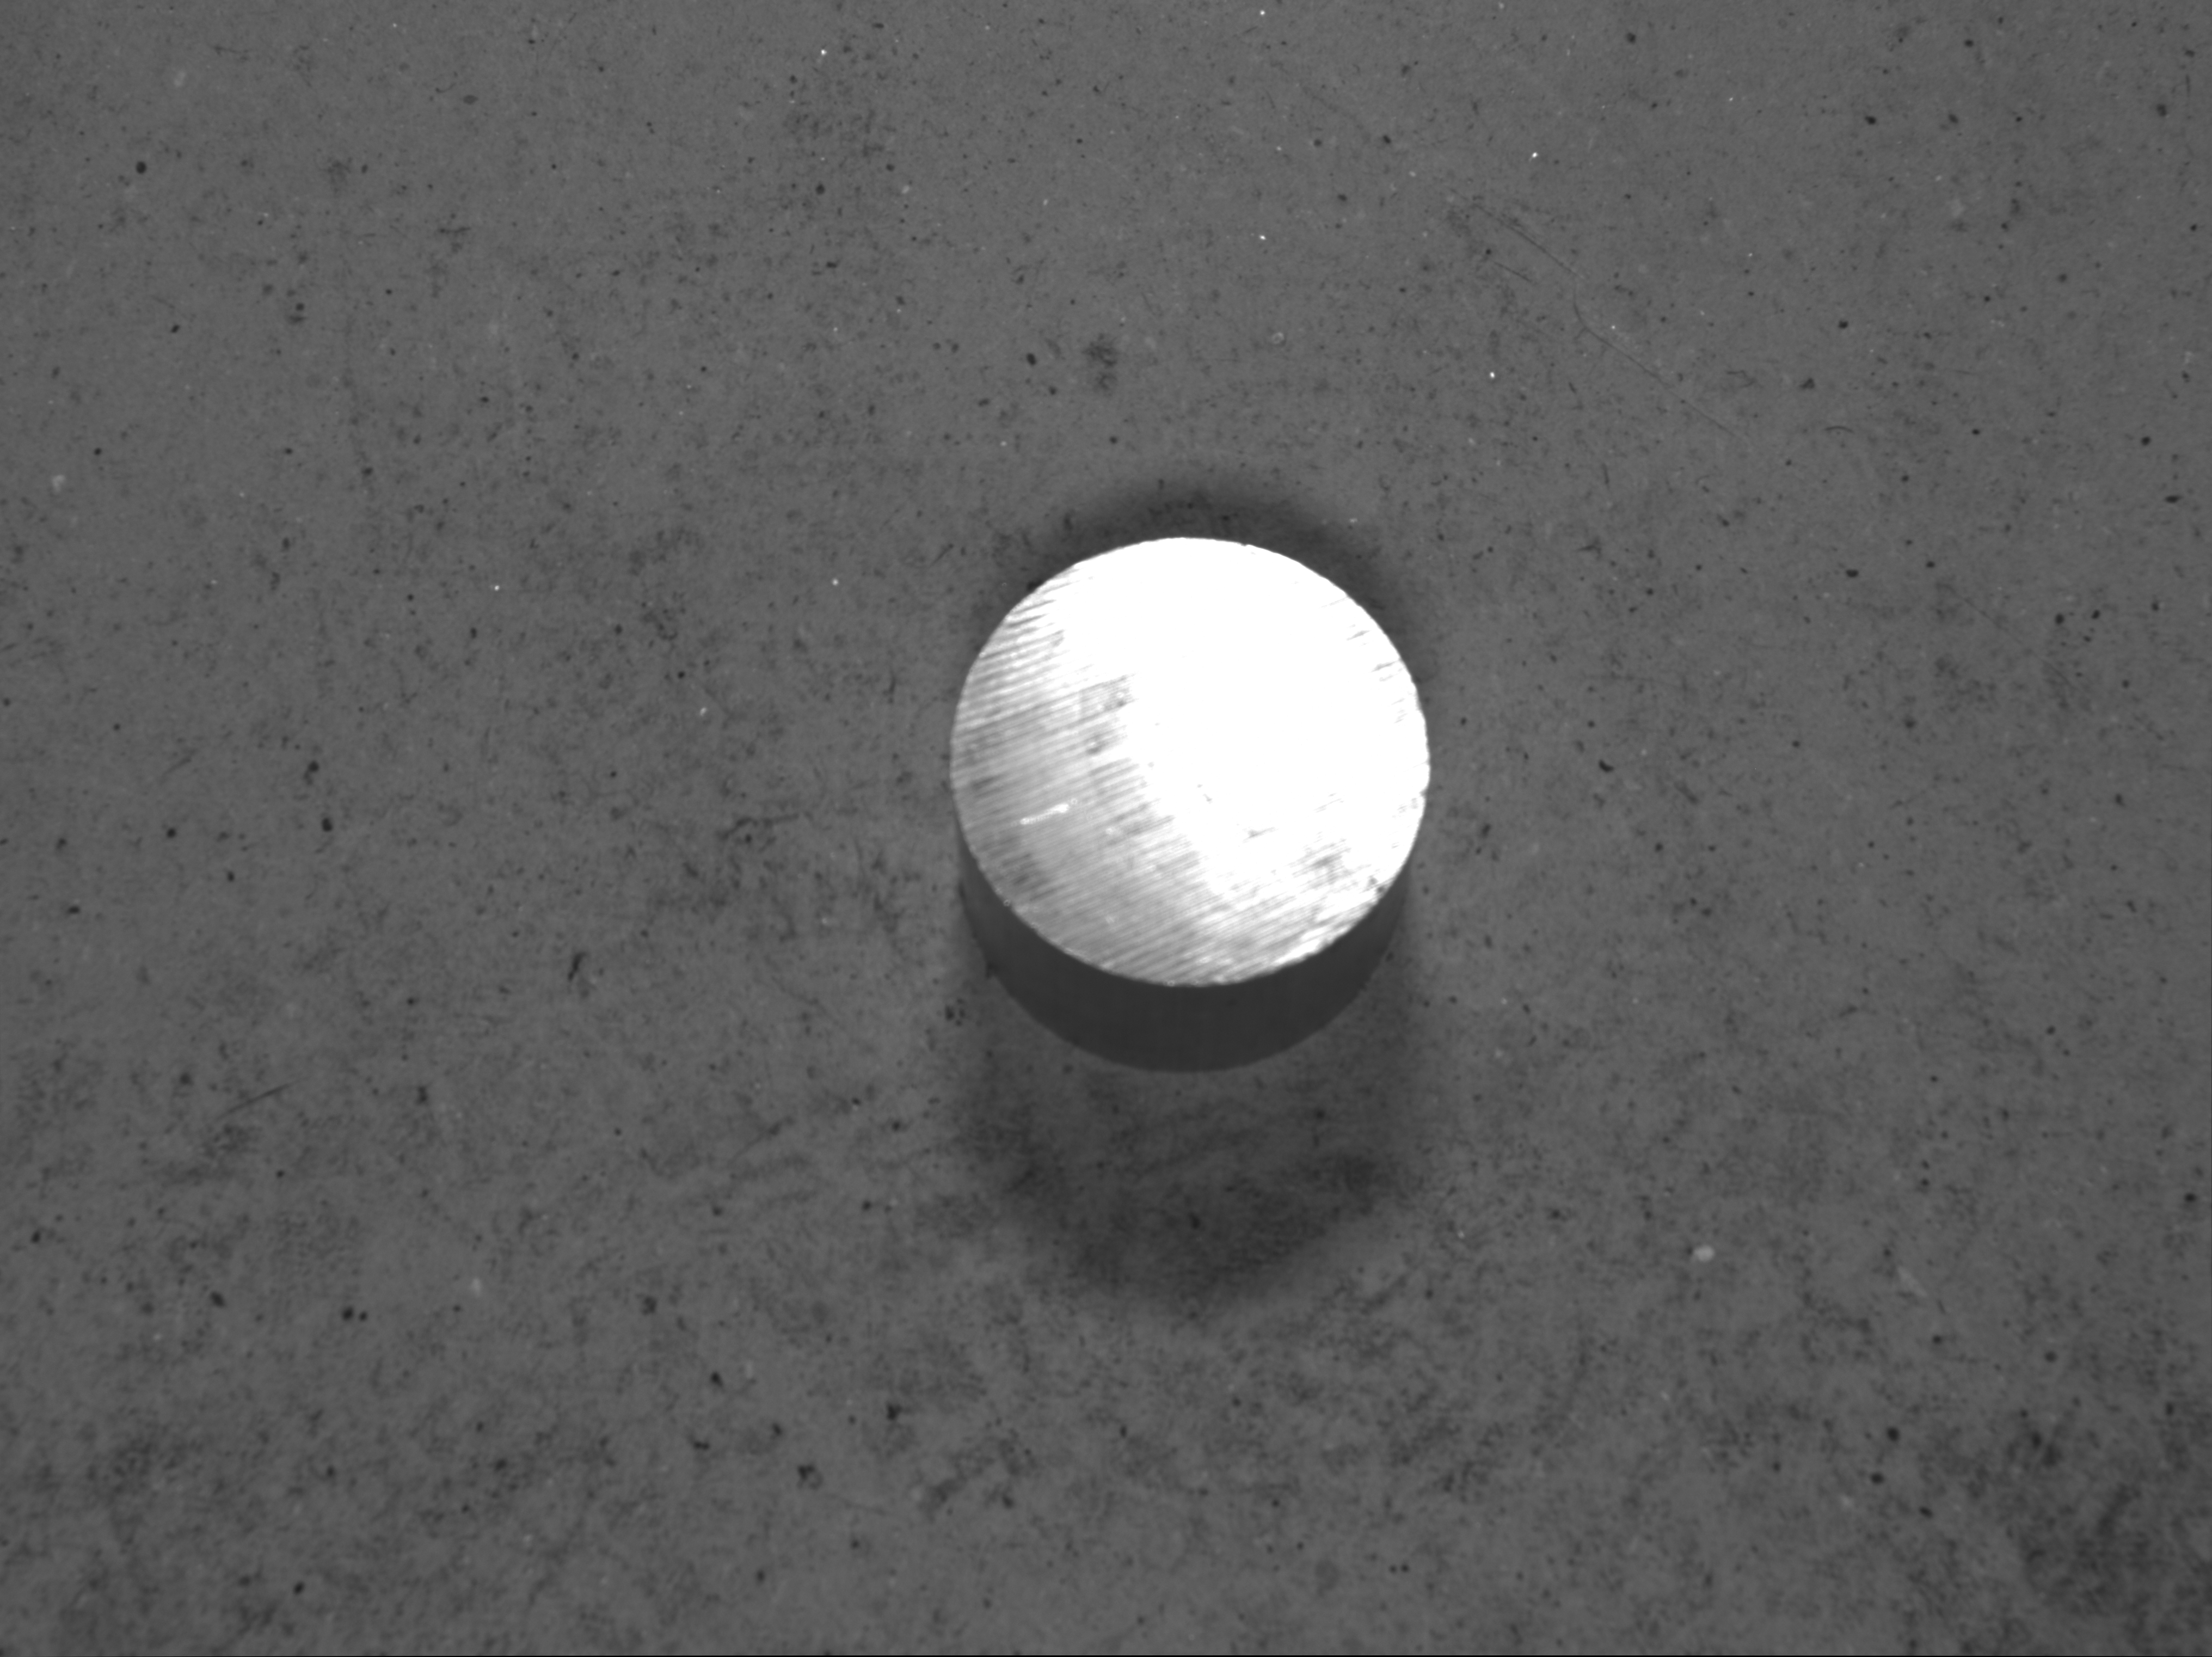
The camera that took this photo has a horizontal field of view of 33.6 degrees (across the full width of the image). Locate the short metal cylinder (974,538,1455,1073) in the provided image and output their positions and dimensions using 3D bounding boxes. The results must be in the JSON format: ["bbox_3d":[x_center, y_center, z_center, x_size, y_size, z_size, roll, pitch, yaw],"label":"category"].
[{"bbox_3d":[0.018,-0.003,0.633,0.080,0.050,0.080,0,70,0],"label":"short metal cylinder"}]
